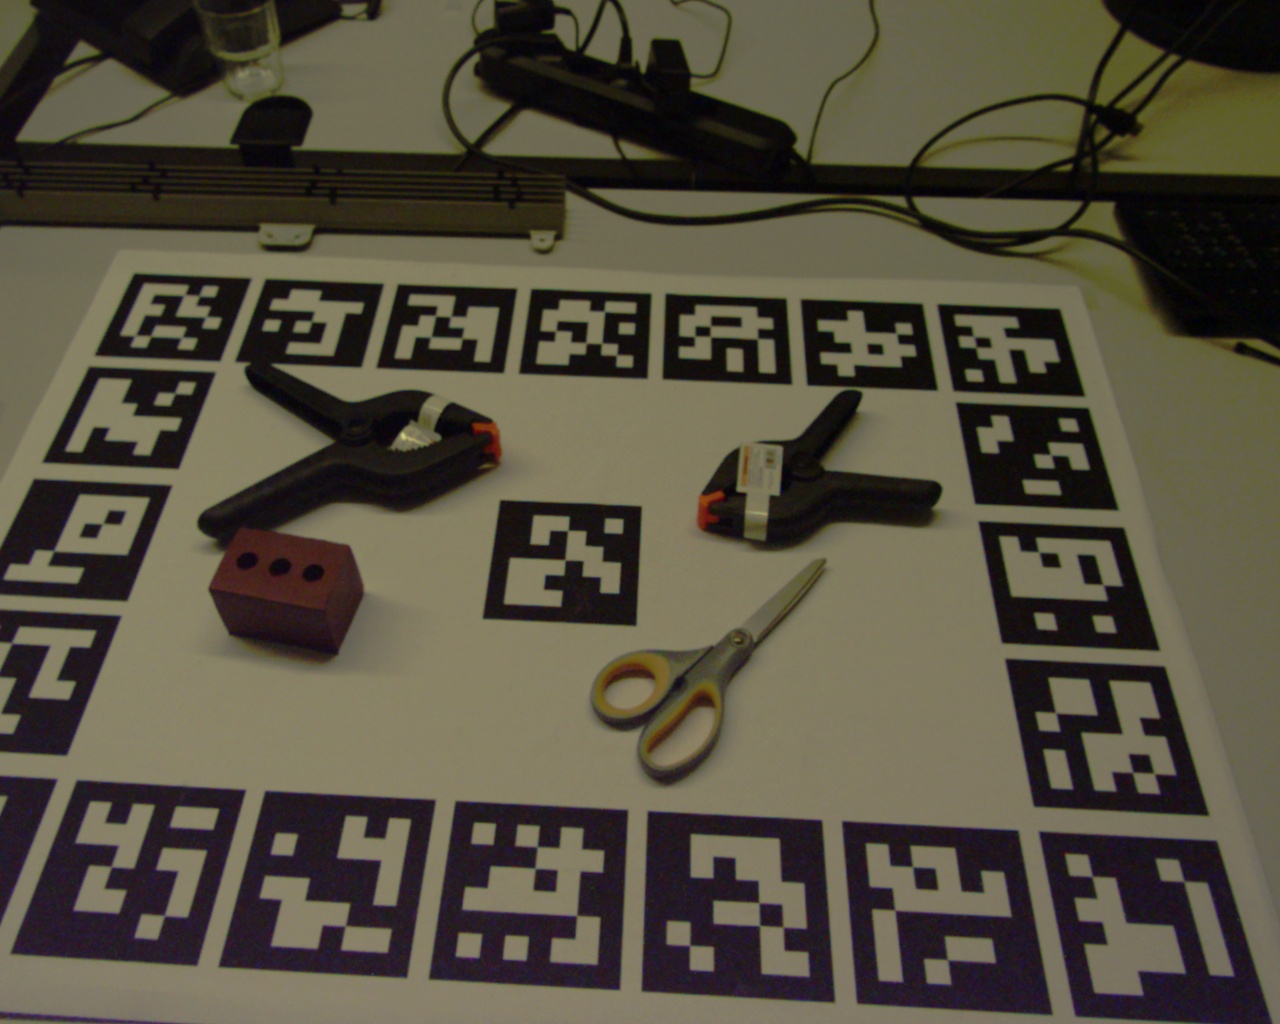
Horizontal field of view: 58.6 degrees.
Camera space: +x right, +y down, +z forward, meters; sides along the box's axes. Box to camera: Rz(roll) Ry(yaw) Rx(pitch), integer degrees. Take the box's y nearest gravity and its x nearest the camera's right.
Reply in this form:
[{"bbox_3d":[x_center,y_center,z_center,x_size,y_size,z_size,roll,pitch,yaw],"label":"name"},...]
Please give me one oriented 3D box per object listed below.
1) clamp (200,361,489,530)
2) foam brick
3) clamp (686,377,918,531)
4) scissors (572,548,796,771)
[{"bbox_3d":[-0.216,-0.054,0.865,0.202,0.036,0.166,-1,50,-2],"label":"clamp"},{"bbox_3d":[-0.238,0.050,0.779,0.078,0.051,0.053,6,54,10],"label":"foam brick"},{"bbox_3d":[0.109,-0.031,0.854,0.164,0.036,0.123,-21,62,-15],"label":"clamp"},{"bbox_3d":[0.042,0.084,0.769,0.088,0.016,0.201,39,60,17],"label":"scissors"}]
